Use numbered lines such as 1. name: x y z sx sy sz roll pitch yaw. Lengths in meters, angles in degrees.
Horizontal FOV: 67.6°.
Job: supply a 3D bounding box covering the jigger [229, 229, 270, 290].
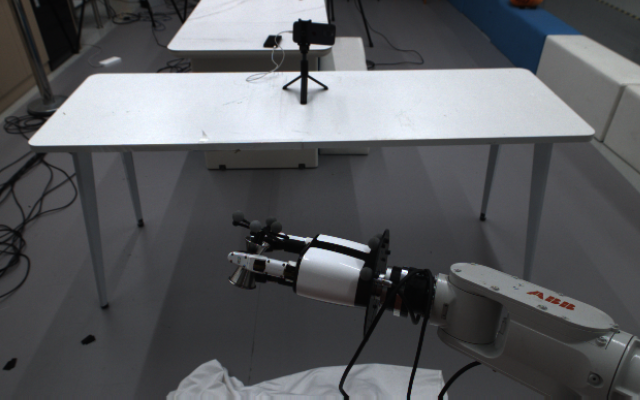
1. jigger: -0.104 0.091 0.710 0.043 0.071 0.043 21 6 -2
